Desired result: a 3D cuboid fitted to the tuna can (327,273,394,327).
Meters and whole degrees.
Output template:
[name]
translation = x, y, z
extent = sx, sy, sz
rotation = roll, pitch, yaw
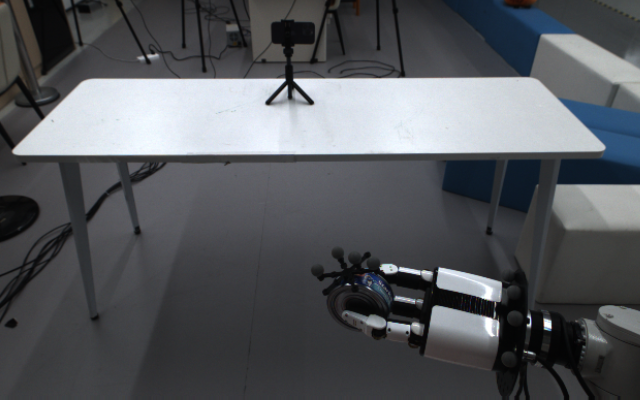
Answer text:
[tuna can]
translation = 0.056, 0.133, 0.645
extent = 0.085, 0.085, 0.034
rotation = 11, 34, 13
